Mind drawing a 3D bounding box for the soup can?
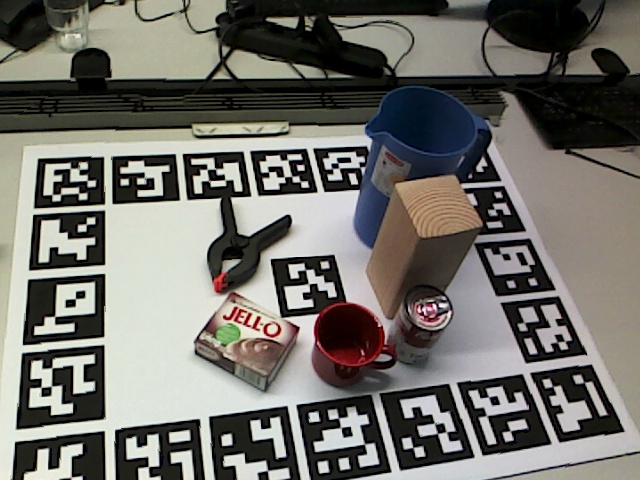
[{"bbox_3d":[0.131,0.118,0.846,0.068,0.102,0.068,4,55,-6],"label":"soup can"}]

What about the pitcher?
[{"bbox_3d":[0.141,-0.094,0.925,0.188,0.242,0.134,-6,52,-10],"label":"pitcher"}]

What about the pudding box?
[{"bbox_3d":[-0.108,0.133,0.842,0.114,0.038,0.090,26,56,12],"label":"pudding box"}]

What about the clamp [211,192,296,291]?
[{"bbox_3d":[-0.117,0.007,0.945,0.122,0.036,0.165,23,53,0],"label":"clamp"}]

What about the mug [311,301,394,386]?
[{"bbox_3d":[0.042,0.147,0.824,0.117,0.081,0.093,24,50,11],"label":"mug"}]

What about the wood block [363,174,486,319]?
[{"bbox_3d":[0.138,0.014,0.861,0.089,0.206,0.091,-4,53,-17],"label":"wood block"}]
